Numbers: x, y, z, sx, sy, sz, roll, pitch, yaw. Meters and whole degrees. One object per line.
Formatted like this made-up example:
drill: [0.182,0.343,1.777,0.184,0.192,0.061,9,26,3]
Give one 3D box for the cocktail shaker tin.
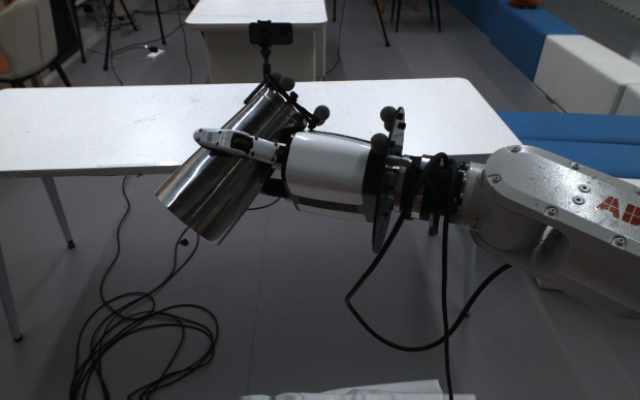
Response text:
cocktail shaker tin: [-0.092,-0.046,0.551,0.170,0.093,0.093,-48,49,-4]
